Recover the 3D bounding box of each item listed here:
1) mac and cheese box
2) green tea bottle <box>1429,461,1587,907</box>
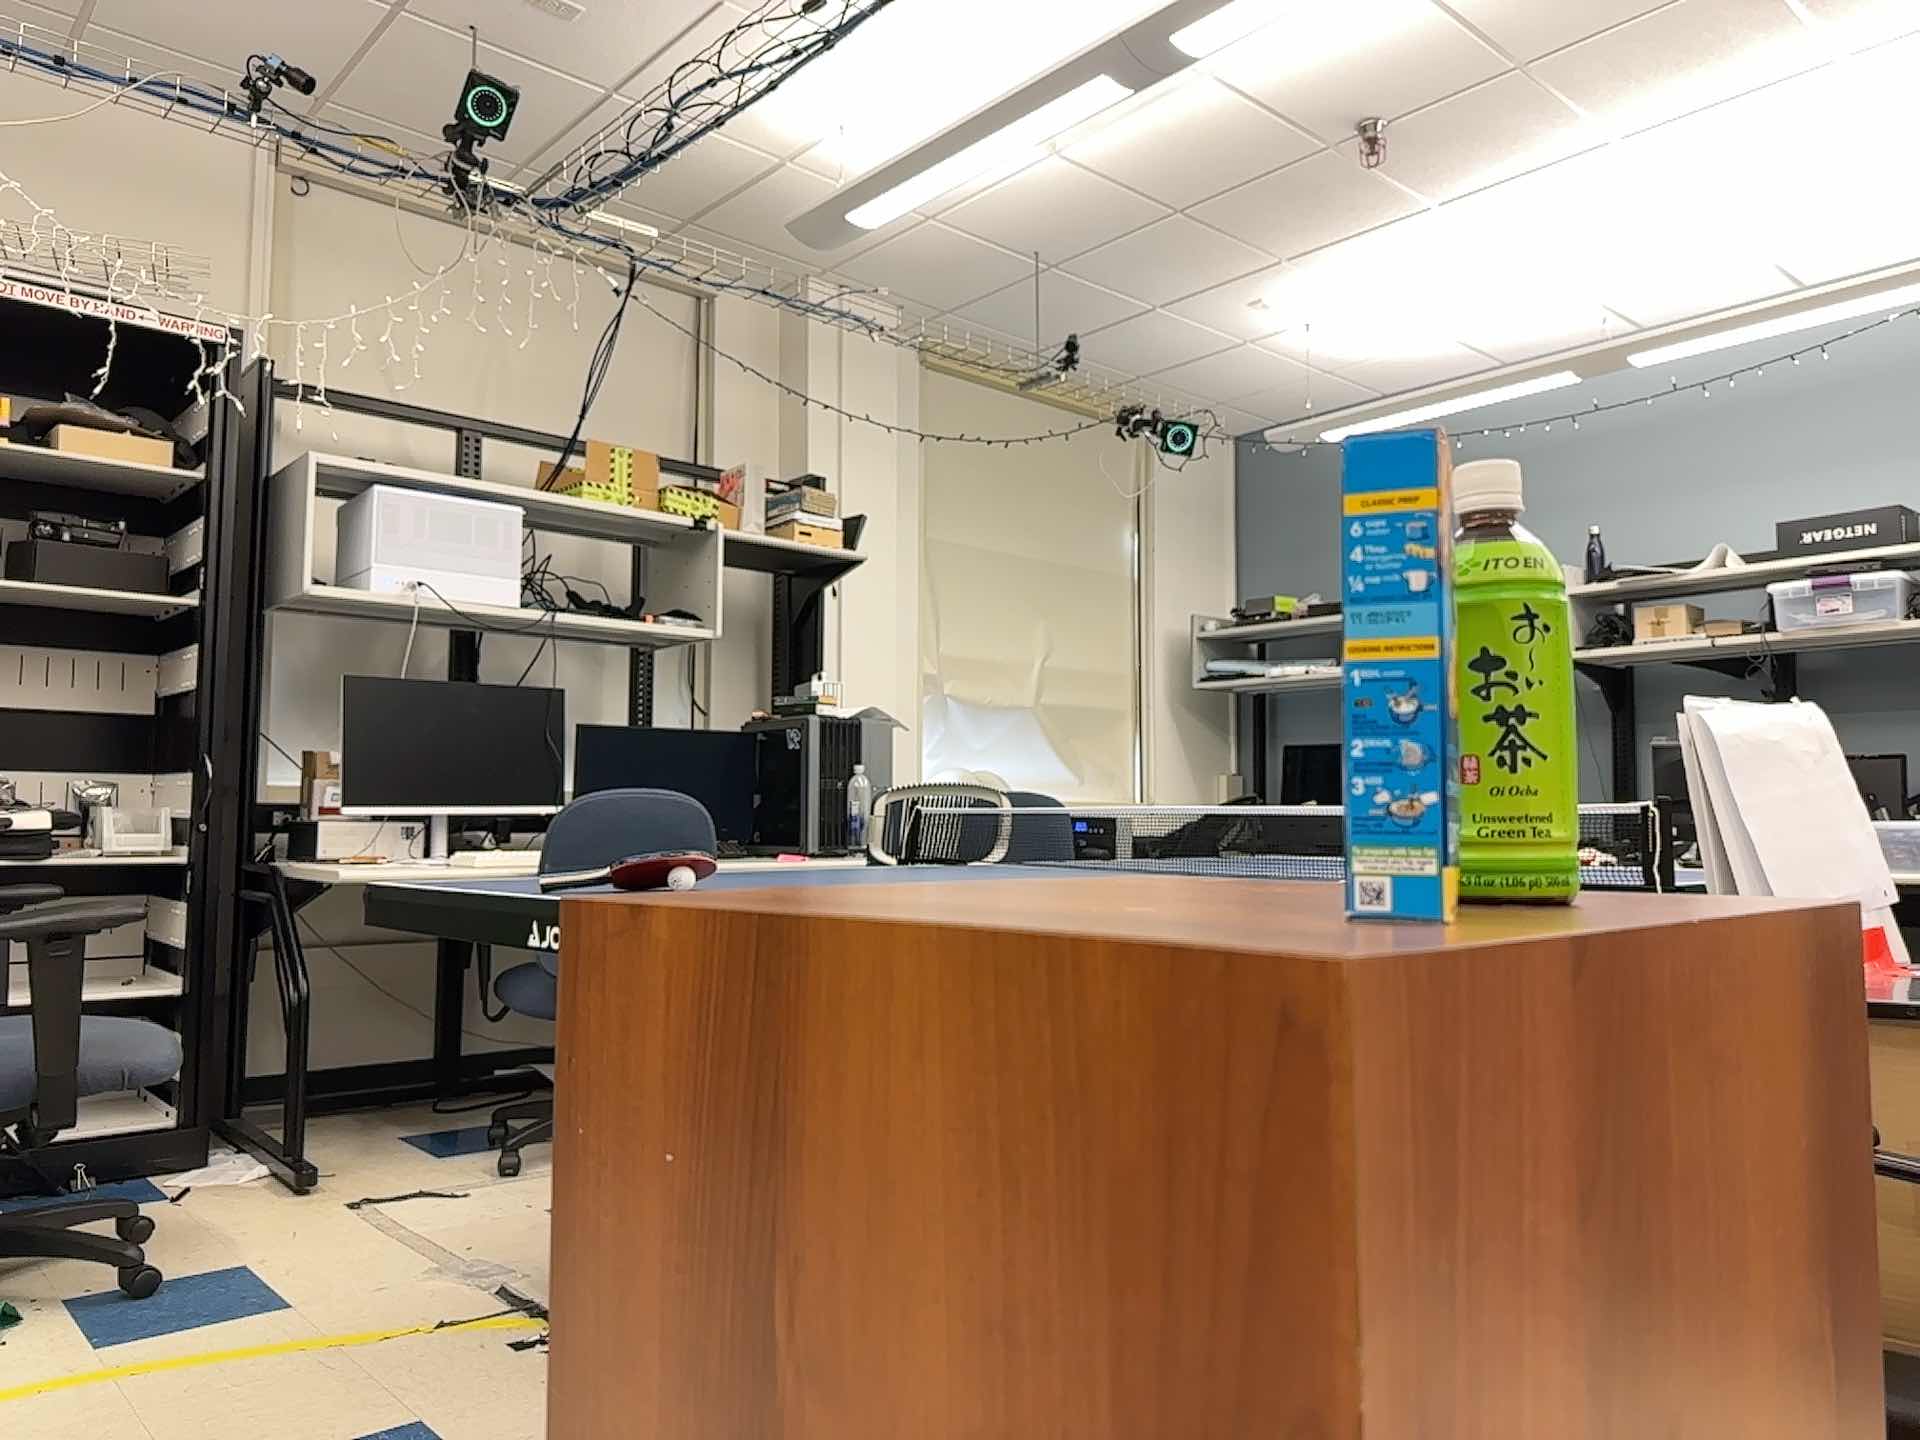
[{"bbox_3d":[0.179,-0.014,0.542,0.035,0.181,0.088,-1,-6,24],"label":"mac and cheese box"},{"bbox_3d":[0.260,-0.018,0.650,0.073,0.212,0.073,1,-8,0],"label":"green tea bottle"}]
